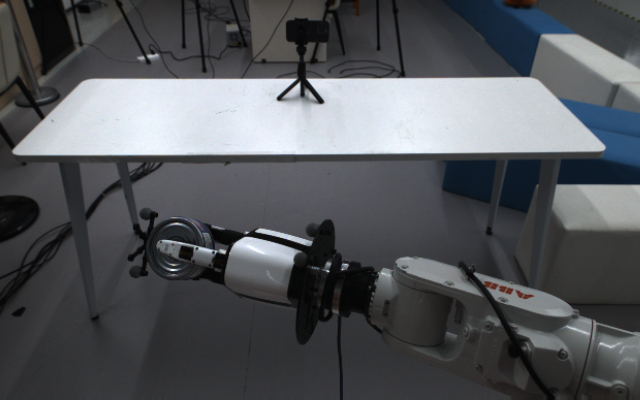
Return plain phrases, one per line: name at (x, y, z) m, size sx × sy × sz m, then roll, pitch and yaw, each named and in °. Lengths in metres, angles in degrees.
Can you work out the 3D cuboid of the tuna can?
tuna can at (-0.185, 0.068, 0.647) m, size 0.085 × 0.085 × 0.034 m, roll 10°, pitch -5°, yaw 11°
